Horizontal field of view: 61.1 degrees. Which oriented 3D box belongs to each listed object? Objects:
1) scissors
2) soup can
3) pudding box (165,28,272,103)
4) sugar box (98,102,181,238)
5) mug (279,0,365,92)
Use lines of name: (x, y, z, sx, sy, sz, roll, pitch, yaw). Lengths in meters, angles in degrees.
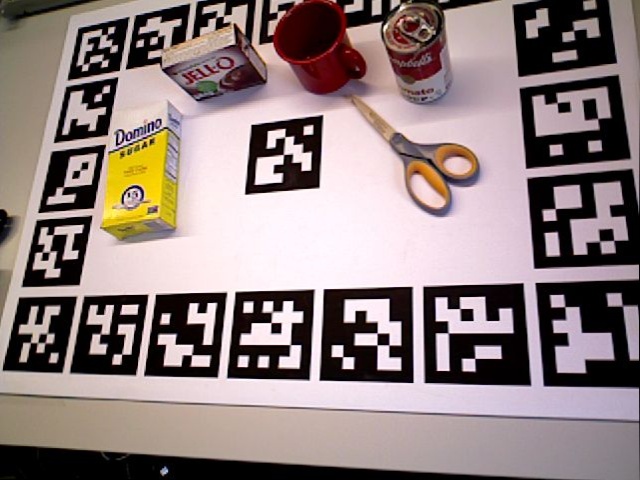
scissors: (0.100, -0.092, 0.628, 0.088, 0.016, 0.202, -45, 66, 13)
soup can: (0.119, -0.195, 0.614, 0.068, 0.102, 0.067, -6, 70, 17)
pudding box: (-0.131, -0.228, 0.708, 0.114, 0.090, 0.038, -11, 76, 16)
sugar box: (-0.245, -0.095, 0.742, 0.093, 0.045, 0.175, -4, 74, 20)
mug: (0.013, -0.230, 0.665, 0.094, 0.081, 0.116, -37, 64, 8)
